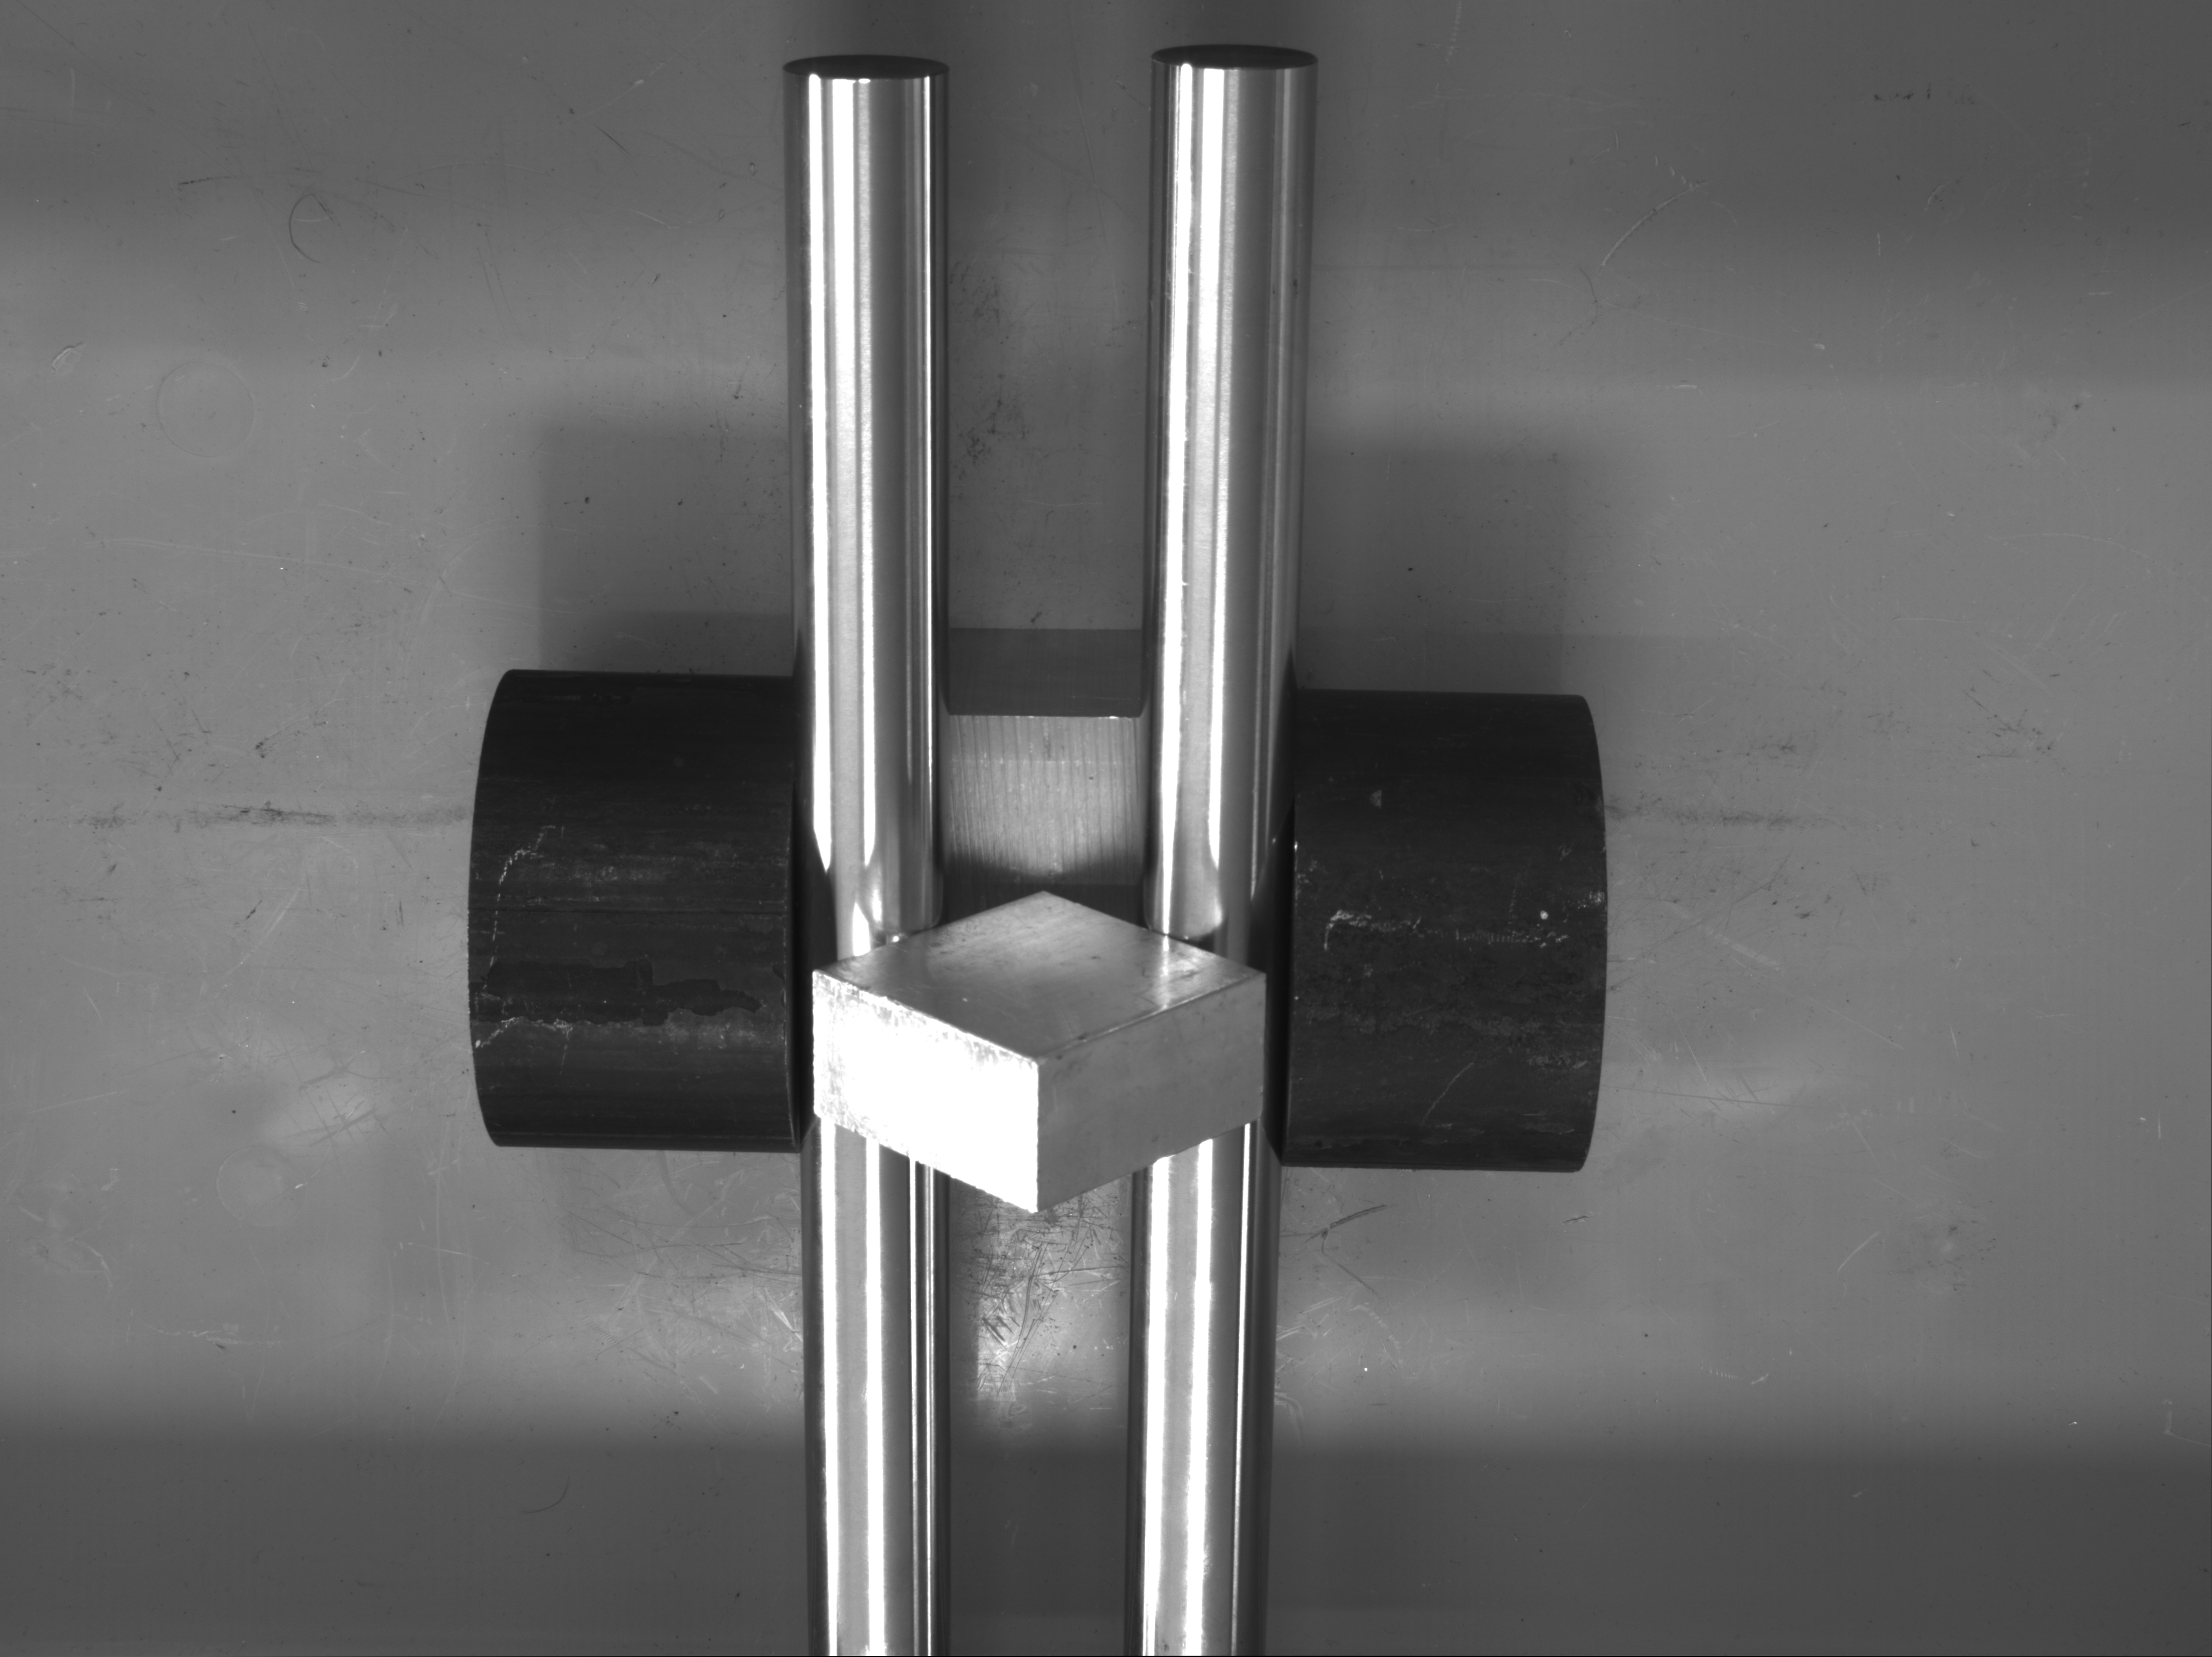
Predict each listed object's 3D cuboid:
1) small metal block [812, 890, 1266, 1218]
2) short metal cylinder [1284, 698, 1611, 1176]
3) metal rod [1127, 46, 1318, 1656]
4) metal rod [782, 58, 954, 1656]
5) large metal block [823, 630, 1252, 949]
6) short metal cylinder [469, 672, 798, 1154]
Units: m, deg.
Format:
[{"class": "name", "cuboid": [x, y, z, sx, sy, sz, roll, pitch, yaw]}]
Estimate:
[{"class": "small metal block", "cuboid": [-0.010, 0.034, 0.575, 0.050, 0.050, 0.025, 19, 117, 41]}, {"class": "short metal cylinder", "cuboid": [0.055, 0.018, 0.620, 0.050, 0.080, 0.080, 1, 110, 1]}, {"class": "metal rod", "cuboid": [0.017, 0.026, 0.600, 0.025, 0.025, 0.300, 1, 110, 0]}, {"class": "metal rod", "cuboid": [-0.038, 0.028, 0.600, 0.025, 0.025, 0.300, 1, 110, 0]}, {"class": "large metal block", "cuboid": [-0.010, 0.012, 0.634, 0.080, 0.050, 0.080, 1, 110, 0]}, {"class": "short metal cylinder", "cuboid": [-0.076, 0.014, 0.619, 0.050, 0.080, 0.080, 1, 110, 0]}]
